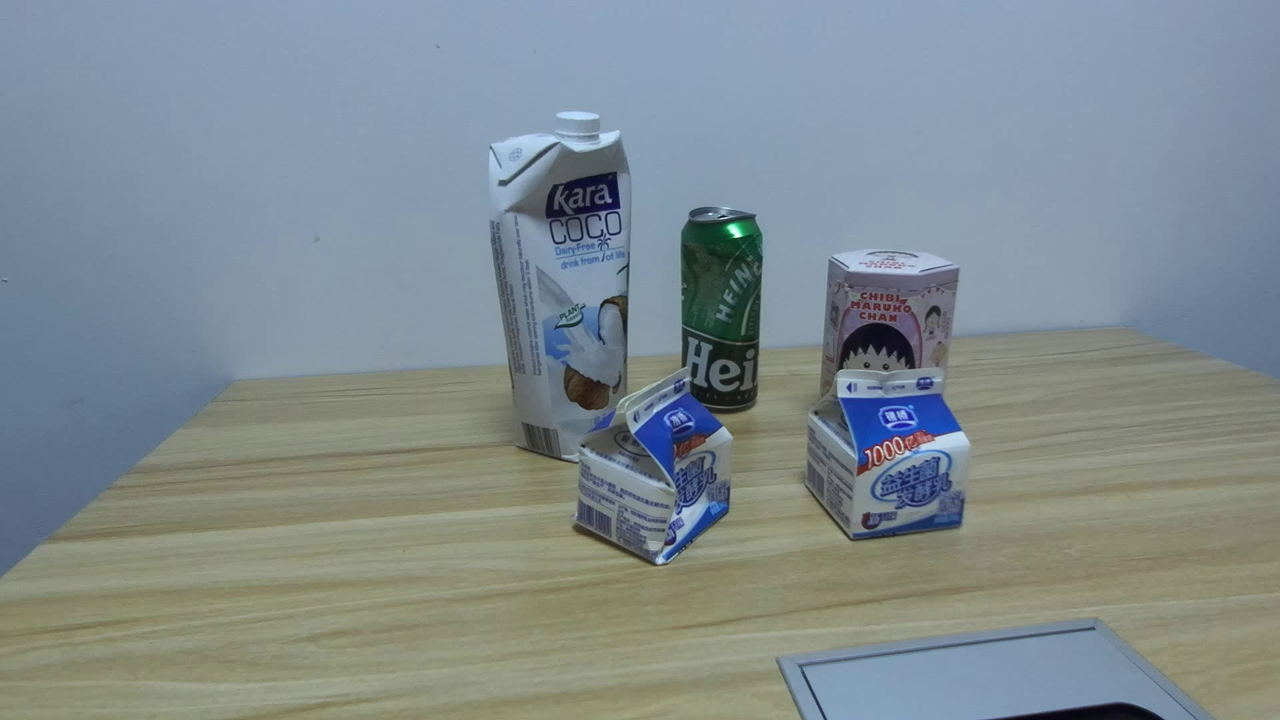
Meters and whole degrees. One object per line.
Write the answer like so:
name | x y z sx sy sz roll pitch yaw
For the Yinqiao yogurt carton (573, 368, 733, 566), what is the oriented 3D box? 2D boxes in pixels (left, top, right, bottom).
Yinqiao yogurt carton | 0.007 0.055 0.414 0.070 0.094 0.078 16 26 33

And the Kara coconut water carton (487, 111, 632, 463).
Kara coconut water carton | -0.052 -0.050 0.505 0.069 0.238 0.115 13 23 33

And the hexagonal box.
hexagonal box | 0.181 -0.007 0.523 0.091 0.136 0.084 7 20 24

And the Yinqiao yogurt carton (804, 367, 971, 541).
Yinqiao yogurt carton | 0.150 0.048 0.431 0.076 0.092 0.073 -3 18 -10

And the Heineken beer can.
Heineken beer can | 0.067 -0.041 0.587 0.066 0.164 0.077 0 21 6
